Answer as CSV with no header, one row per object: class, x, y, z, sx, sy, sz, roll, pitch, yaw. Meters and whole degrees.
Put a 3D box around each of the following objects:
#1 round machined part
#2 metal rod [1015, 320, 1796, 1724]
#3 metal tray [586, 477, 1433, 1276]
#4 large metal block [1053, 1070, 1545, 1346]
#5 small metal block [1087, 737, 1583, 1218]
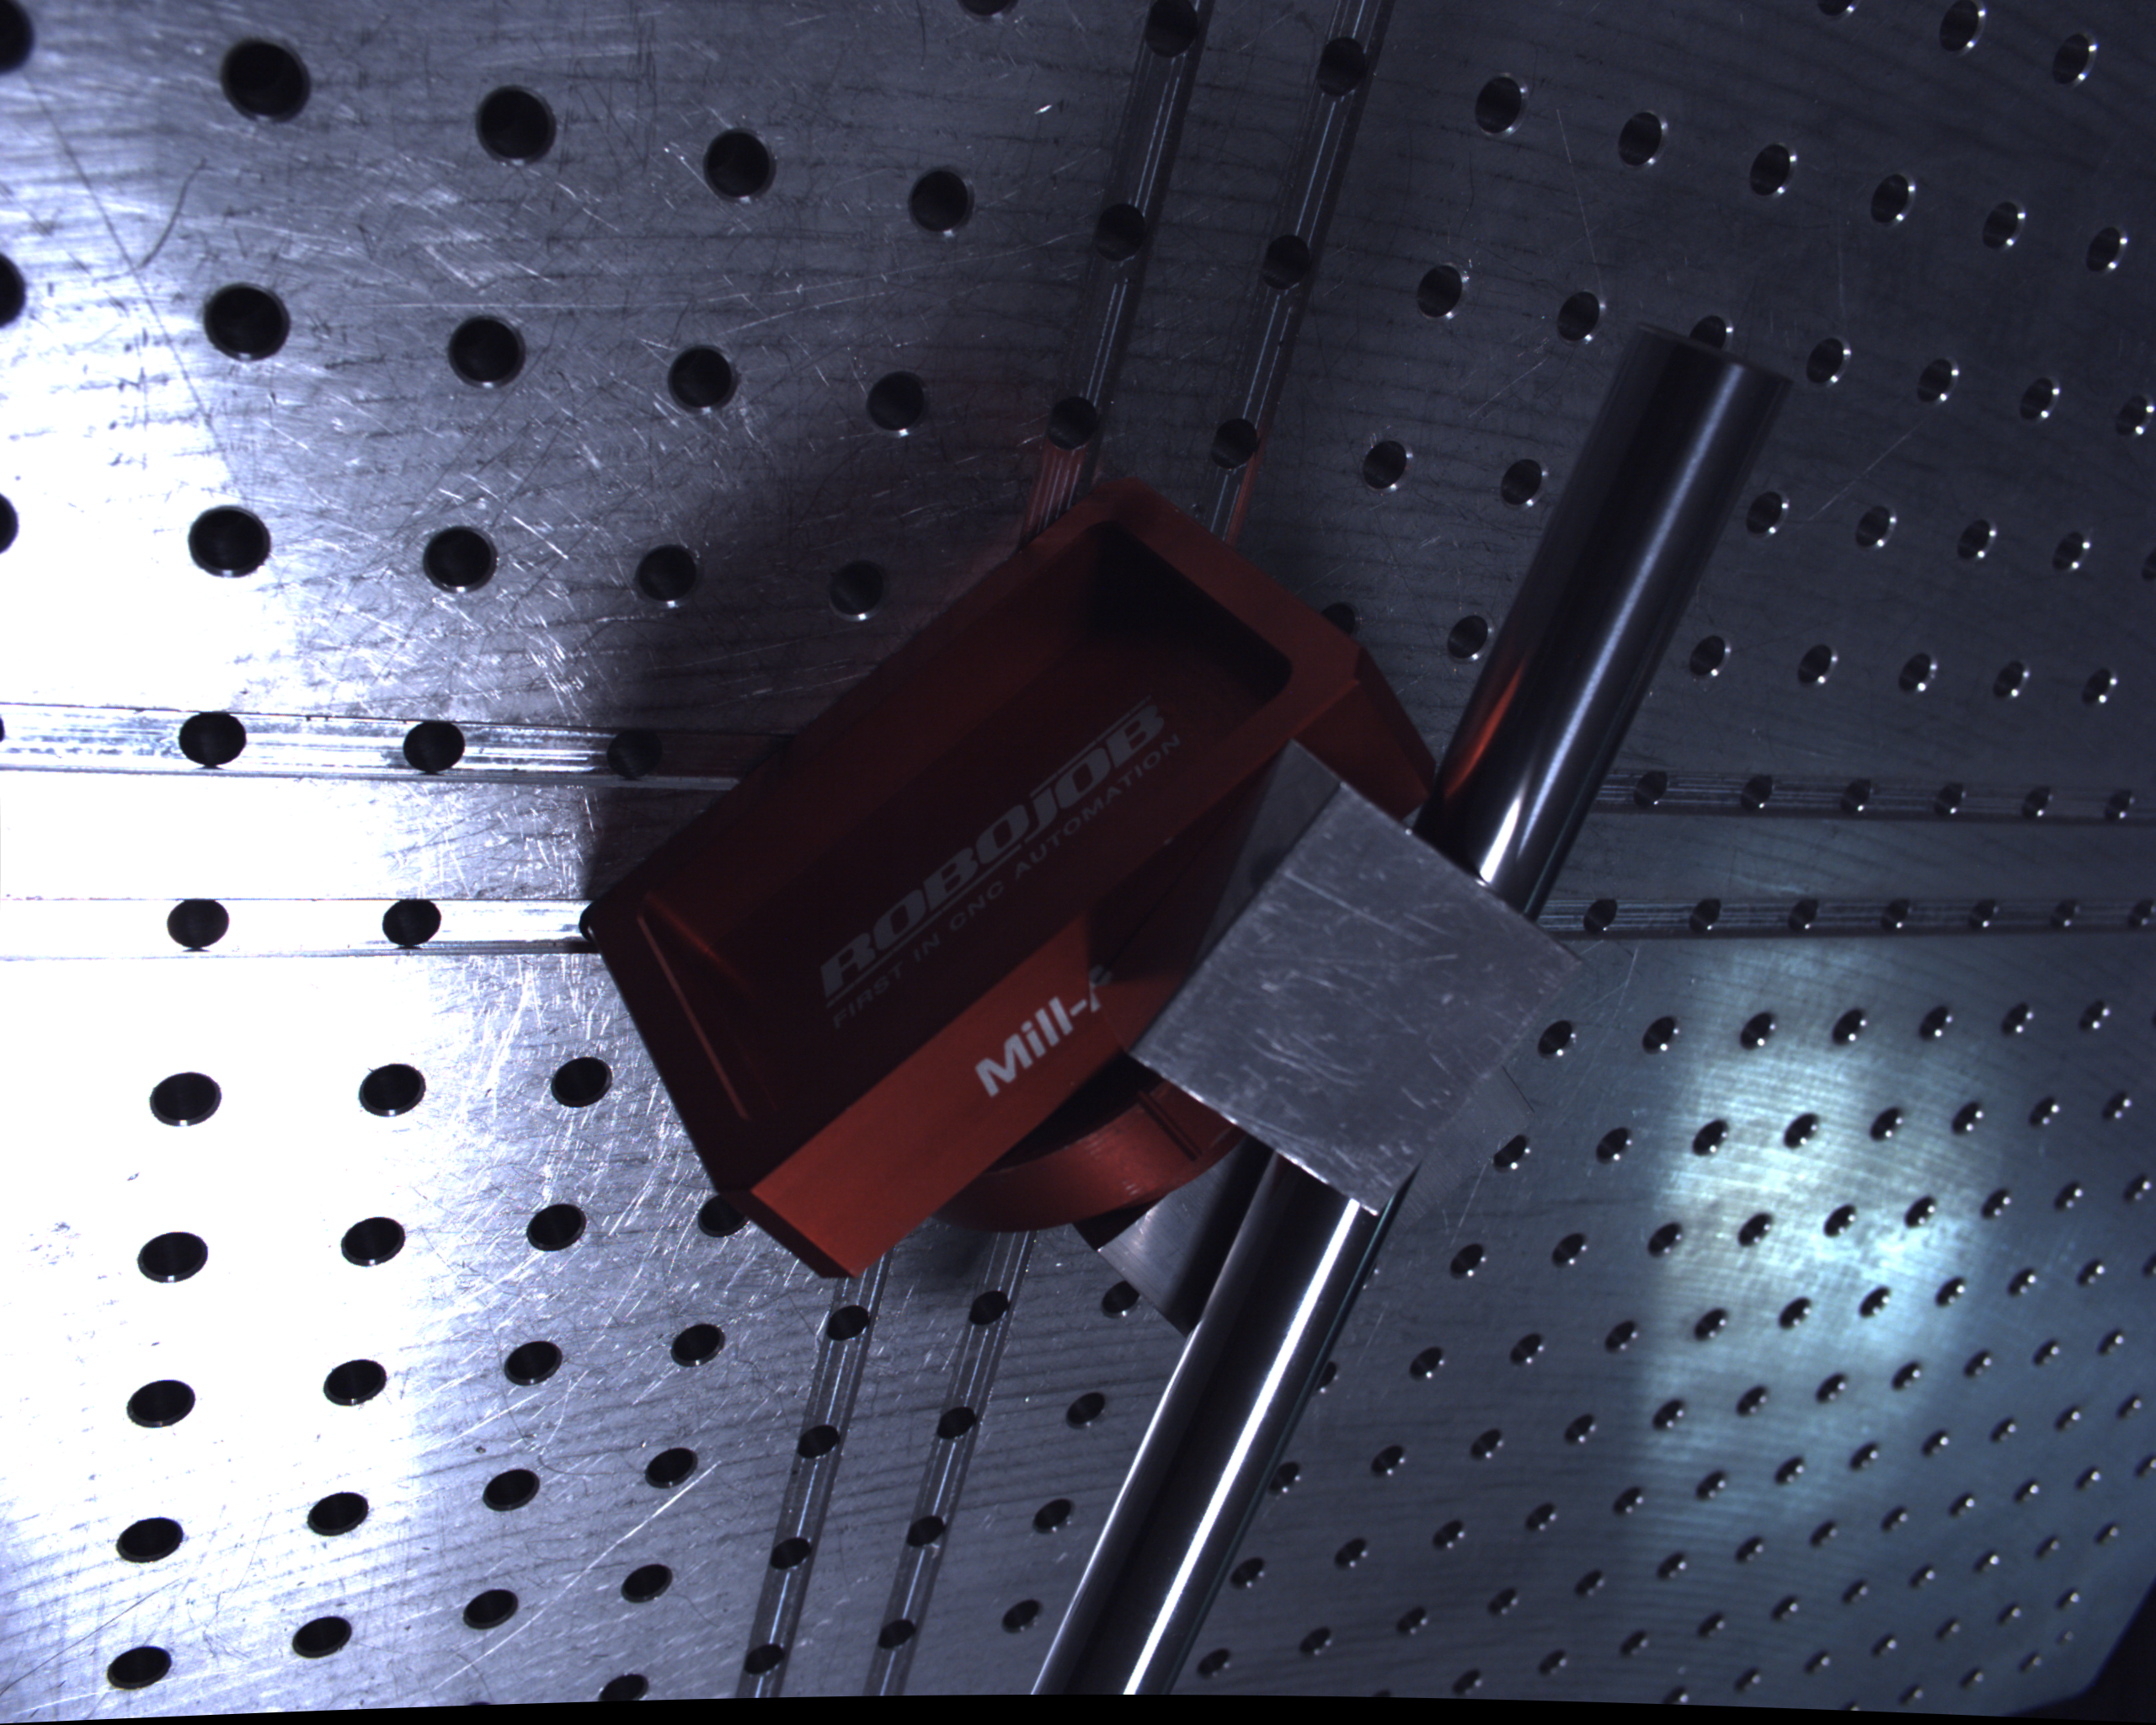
round machined part,-0.002,0.020,0.382,0.098,0.098,0.042,-41,130,-1
metal rod,0.047,0.053,0.367,0.025,0.025,0.298,7,115,-32
metal tray,-0.016,-0.002,0.360,0.130,0.090,0.030,-40,130,-2
large metal block,0.030,0.043,0.417,0.080,0.080,0.050,-40,130,-1
small metal block,0.038,0.018,0.318,0.050,0.025,0.050,35,97,-20
